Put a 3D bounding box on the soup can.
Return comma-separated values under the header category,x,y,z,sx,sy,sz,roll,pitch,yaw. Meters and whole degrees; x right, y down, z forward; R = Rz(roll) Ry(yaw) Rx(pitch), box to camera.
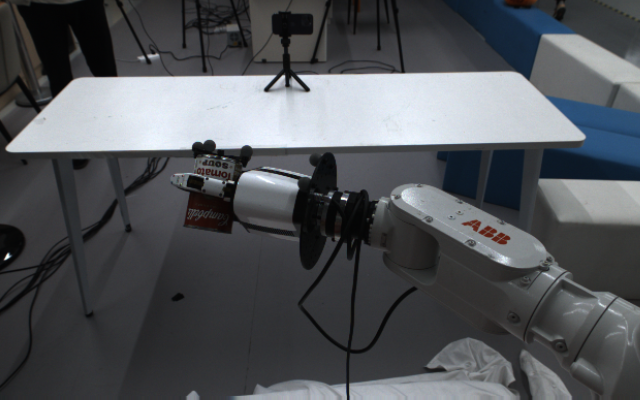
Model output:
category,x,y,z,sx,sy,sz,roll,pitch,yaw
soup can,-0.149,-0.006,0.679,0.067,0.101,0.067,8,-6,1
